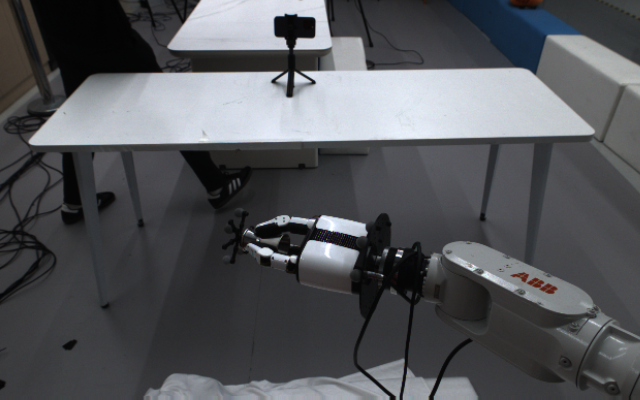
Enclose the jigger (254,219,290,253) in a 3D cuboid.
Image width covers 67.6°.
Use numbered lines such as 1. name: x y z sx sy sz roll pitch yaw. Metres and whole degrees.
1. jigger: -0.083 0.067 0.781 0.071 0.043 0.043 10 35 22
